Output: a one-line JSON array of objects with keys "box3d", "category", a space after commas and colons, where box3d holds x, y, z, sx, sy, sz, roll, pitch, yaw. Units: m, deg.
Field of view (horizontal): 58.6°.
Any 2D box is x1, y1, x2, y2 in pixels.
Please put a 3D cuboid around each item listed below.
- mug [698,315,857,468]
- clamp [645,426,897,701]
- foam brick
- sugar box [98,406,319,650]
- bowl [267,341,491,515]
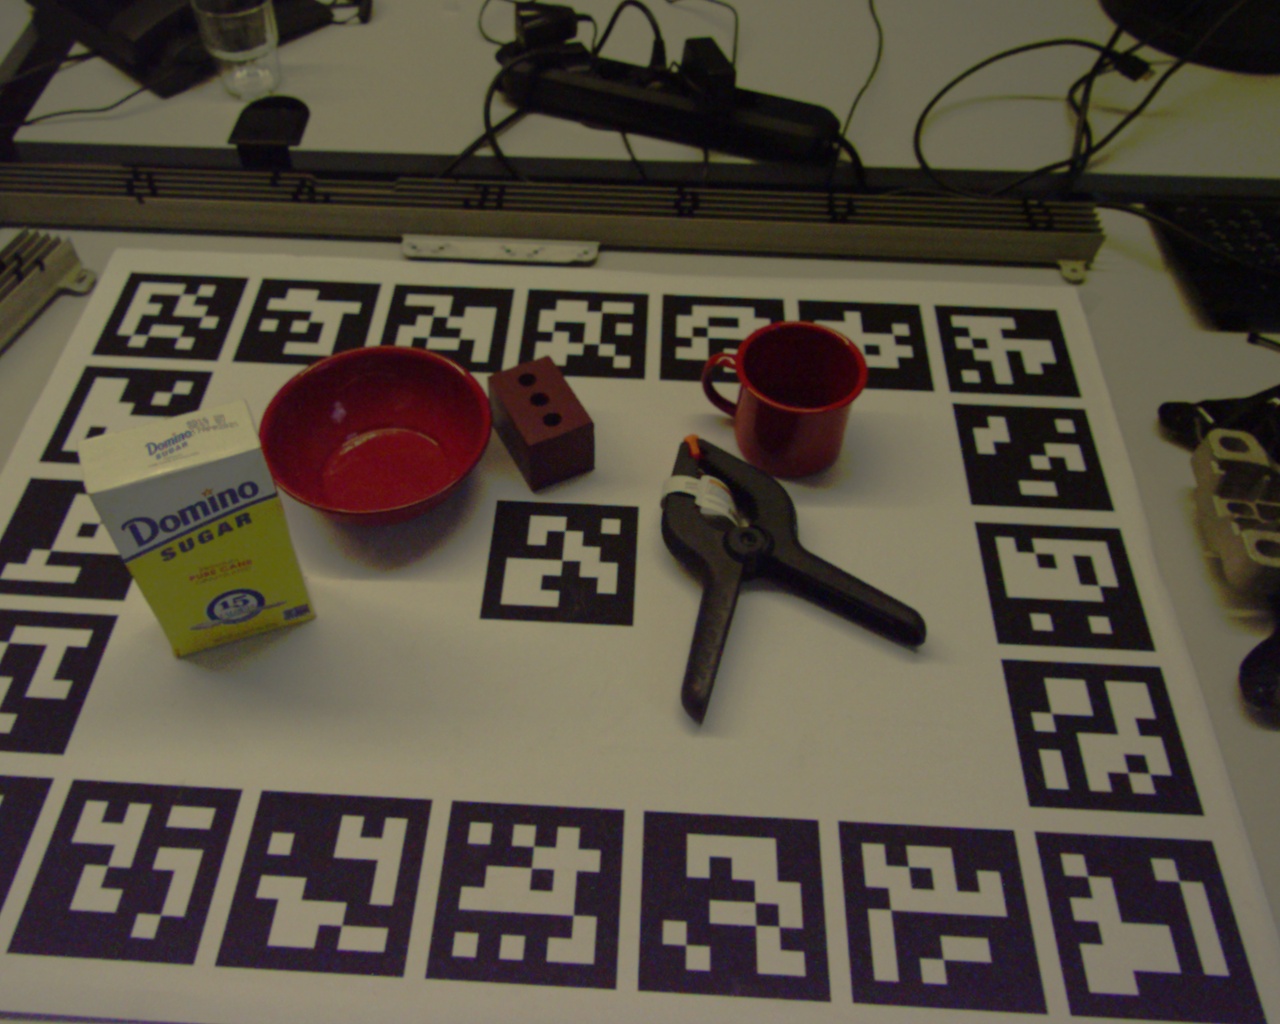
[{"box3d": [0.098, -0.092, 0.862, 0.118, 0.081, 0.093, 25, 56, 13], "category": "mug"}, {"box3d": [0.062, 0.020, 0.800, 0.164, 0.036, 0.204, -18, 56, -12], "category": "clamp"}, {"box3d": [-0.073, -0.065, 0.868, 0.052, 0.051, 0.079, -21, 57, -15], "category": "foam brick"}, {"box3d": [-0.265, 0.016, 0.720, 0.092, 0.176, 0.046, -18, 58, -16], "category": "sugar box"}, {"box3d": [-0.190, -0.052, 0.847, 0.161, 0.055, 0.162, 1, 53, -2], "category": "bowl"}]
